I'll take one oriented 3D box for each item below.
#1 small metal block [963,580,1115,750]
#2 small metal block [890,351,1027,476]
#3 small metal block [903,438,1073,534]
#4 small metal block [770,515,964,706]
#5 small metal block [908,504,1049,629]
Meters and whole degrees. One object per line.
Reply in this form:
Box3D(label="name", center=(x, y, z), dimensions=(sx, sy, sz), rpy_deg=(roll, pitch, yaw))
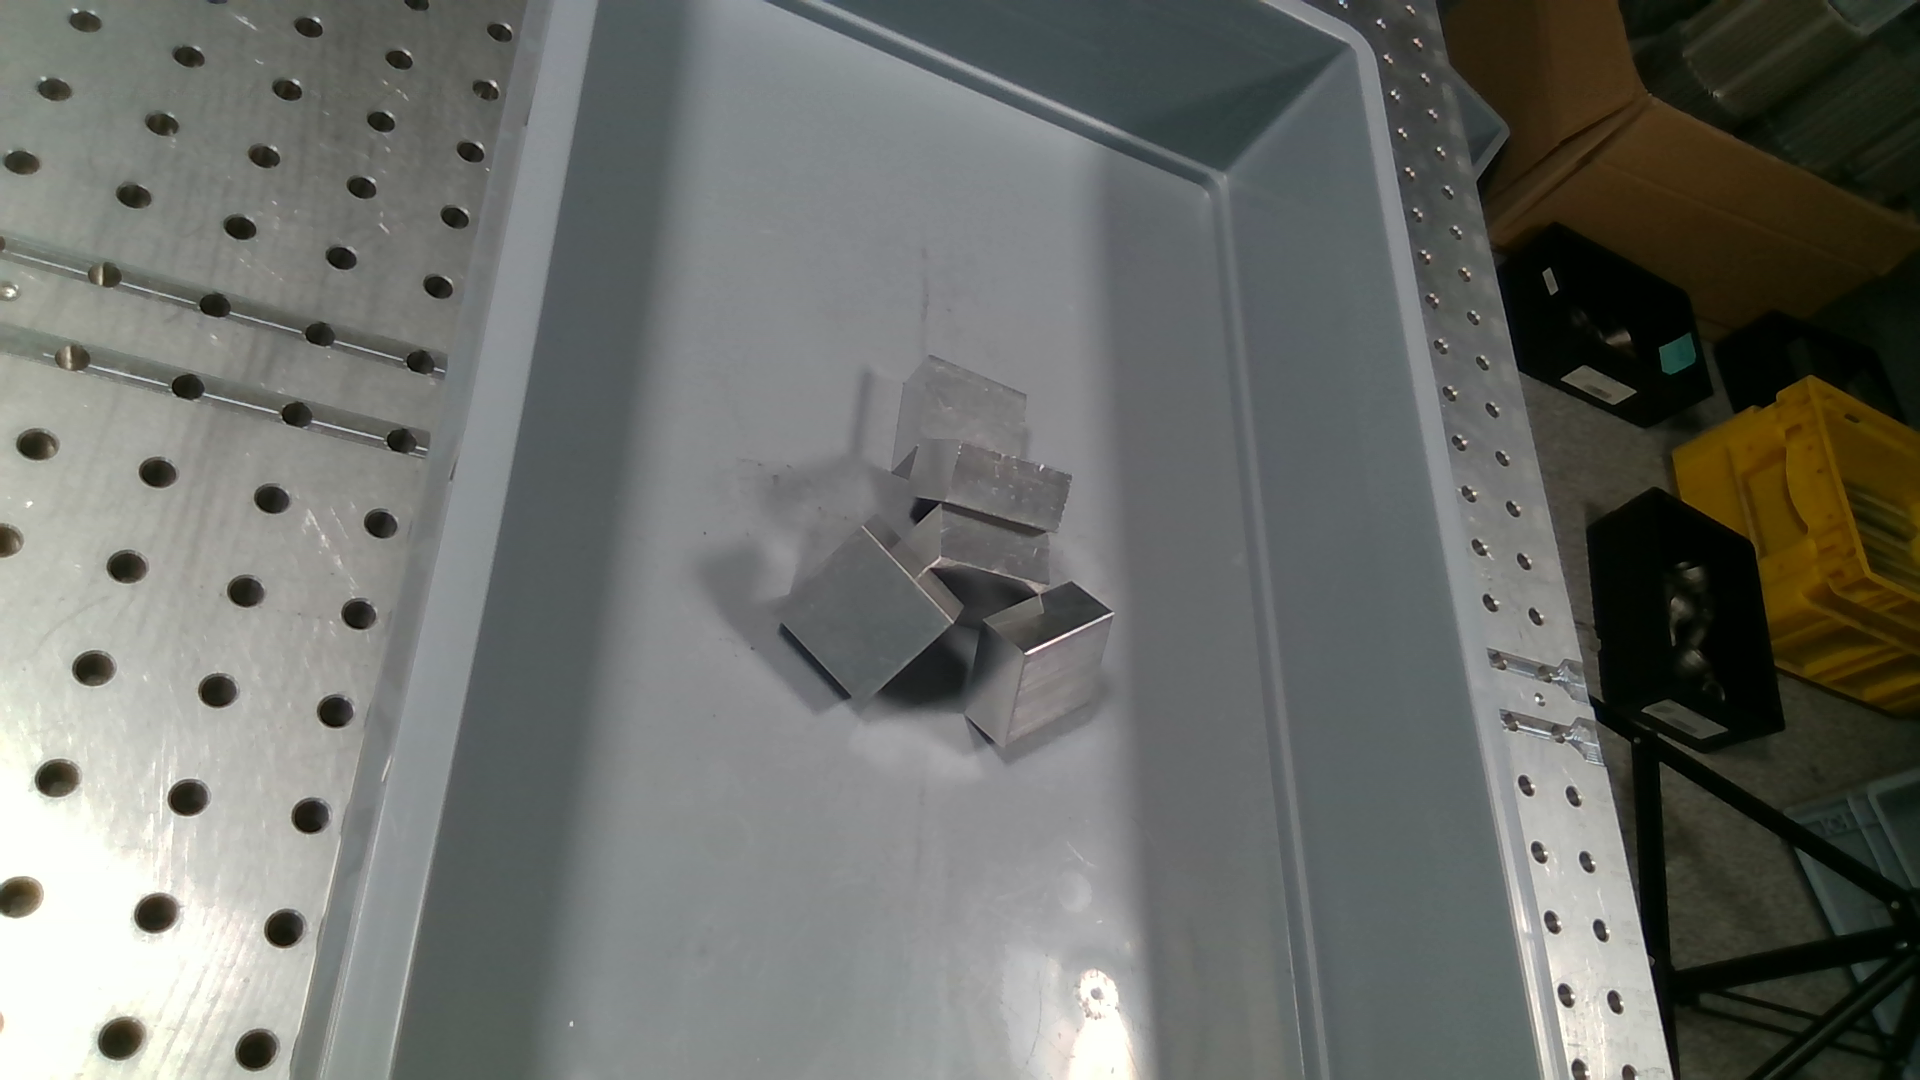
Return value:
Box3D(label="small metal block", center=(0.032, 0.050, 0.558), dimensions=(0.050, 0.050, 0.025), rpy_deg=(-21, 45, -37))
Box3D(label="small metal block", center=(0.000, -0.048, 0.609), dimensions=(0.050, 0.025, 0.050), rpy_deg=(20, 56, -21))
Box3D(label="small metal block", center=(0.011, -0.023, 0.564), dimensions=(0.050, 0.050, 0.025), rpy_deg=(15, 89, -21))
Box3D(label="small metal block", center=(-0.035, 0.026, 0.529), dimensions=(0.050, 0.050, 0.025), rpy_deg=(47, 16, -3))
Box3D(label="small metal block", center=(0.002, 0.012, 0.563), dimensions=(0.050, 0.050, 0.025), rpy_deg=(15, 58, -24))
